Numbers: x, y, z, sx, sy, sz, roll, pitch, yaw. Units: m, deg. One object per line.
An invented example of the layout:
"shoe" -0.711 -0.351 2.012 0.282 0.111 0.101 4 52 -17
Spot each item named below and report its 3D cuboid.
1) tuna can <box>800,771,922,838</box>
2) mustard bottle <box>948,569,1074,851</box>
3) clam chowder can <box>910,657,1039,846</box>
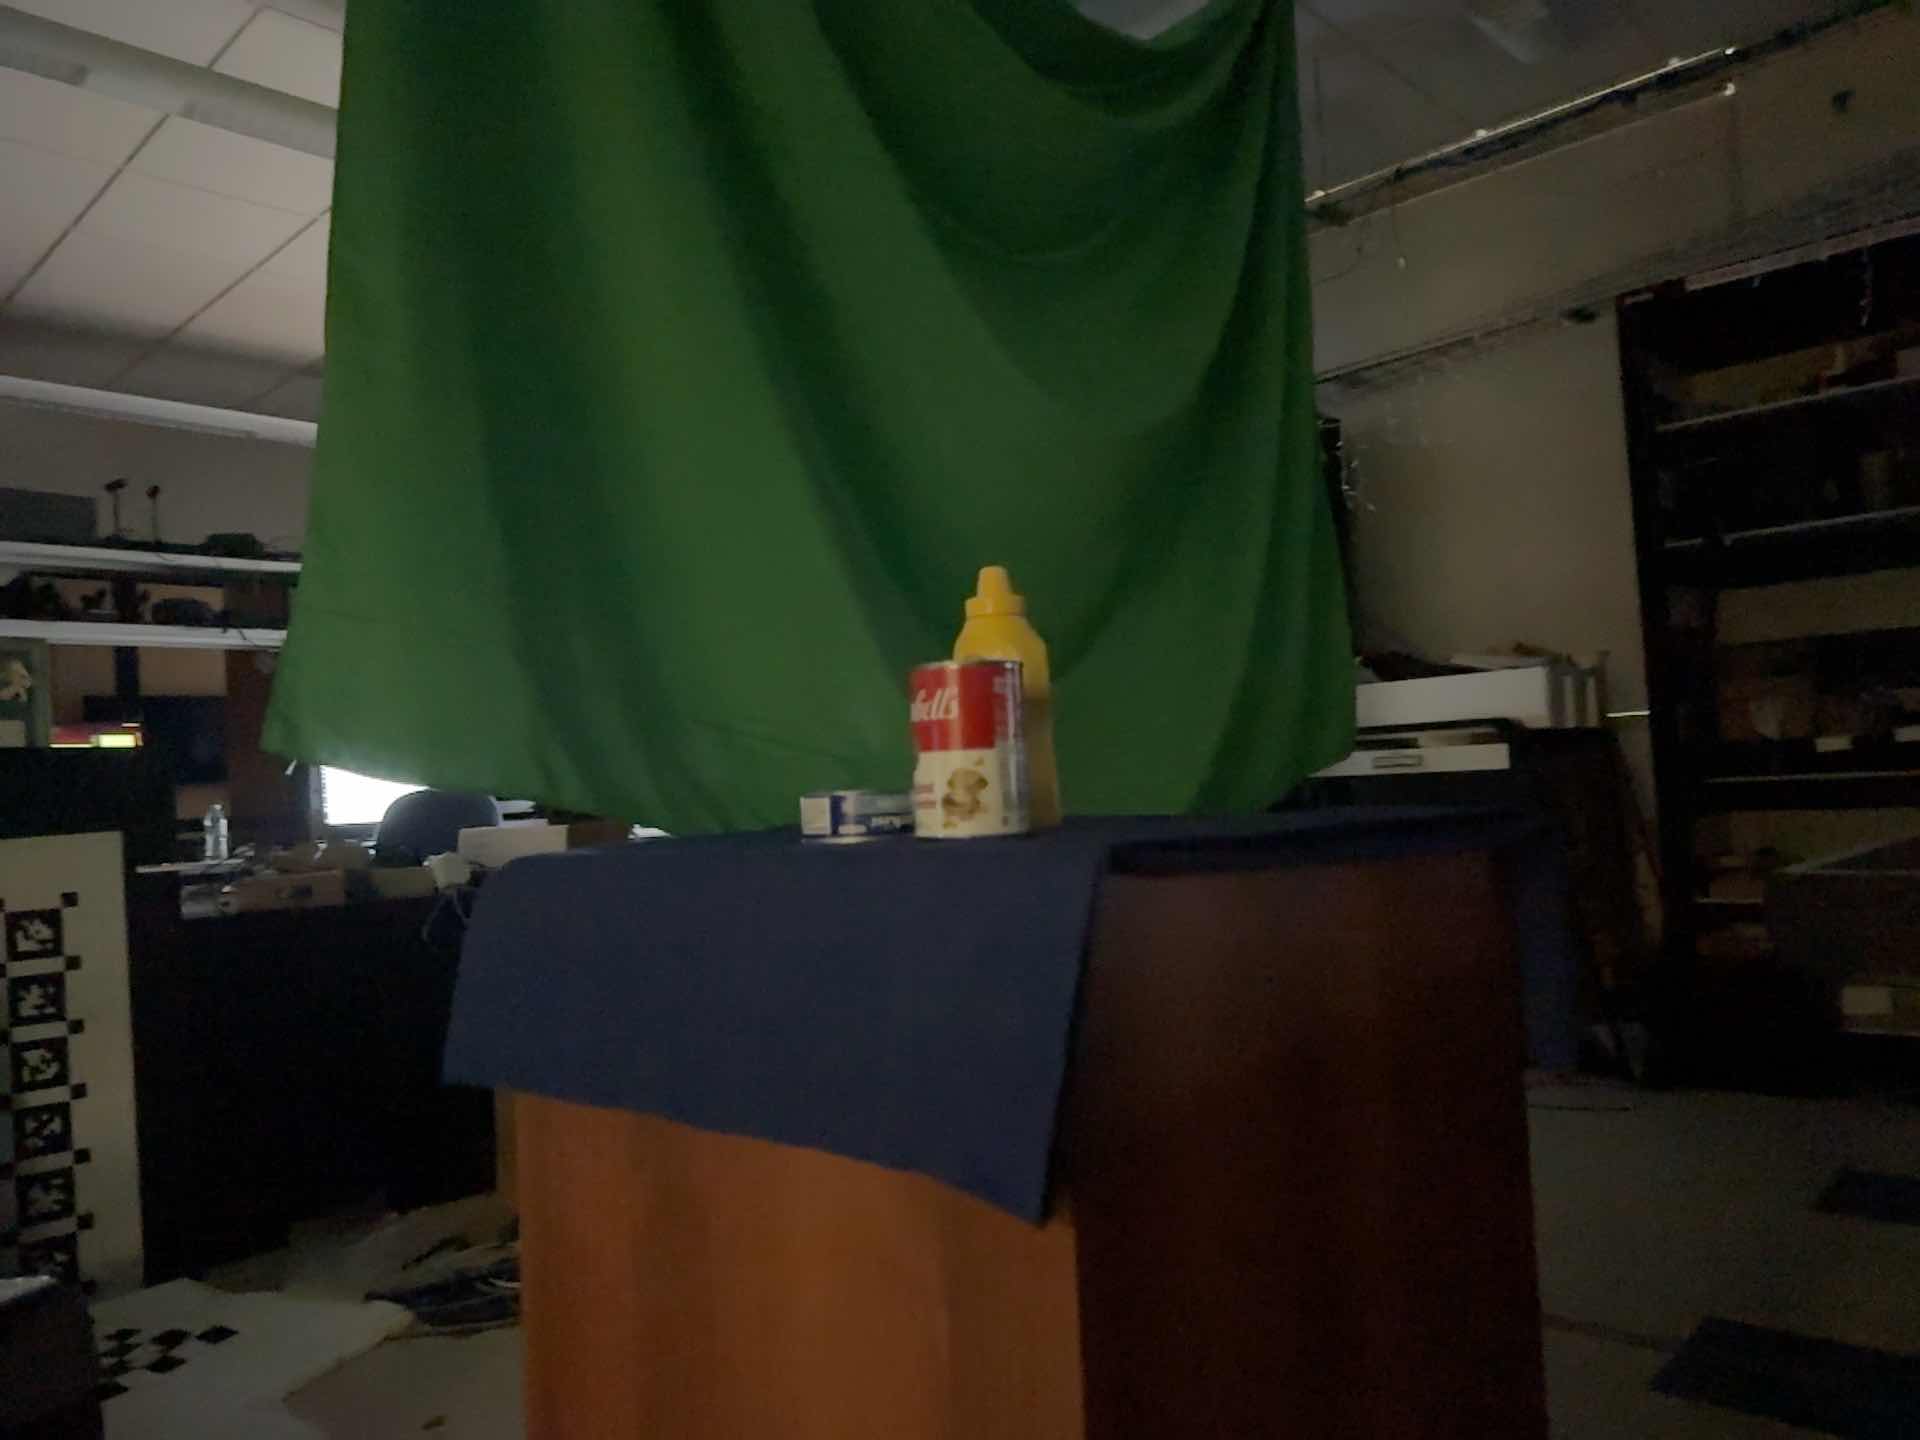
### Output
"tuna can" -0.060 0.053 0.865 0.083 0.034 0.083 -5 0 0
"mustard bottle" 0.028 -0.008 0.888 0.054 0.184 0.092 -6 1 -31
"clam chowder can" 0.009 0.017 0.769 0.068 0.102 0.068 -5 0 0
